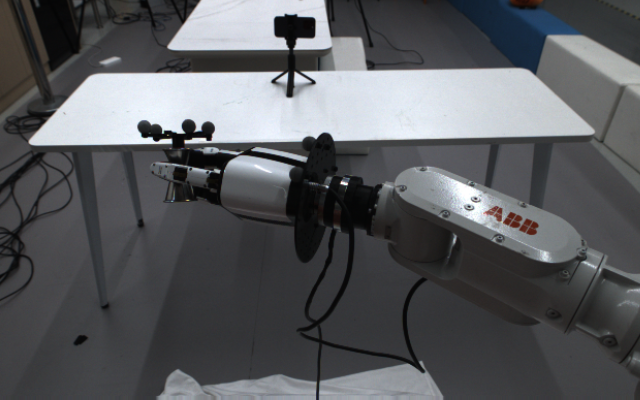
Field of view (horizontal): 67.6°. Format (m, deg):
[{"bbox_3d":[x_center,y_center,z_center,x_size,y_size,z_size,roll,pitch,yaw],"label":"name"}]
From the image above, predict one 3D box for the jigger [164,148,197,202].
[{"bbox_3d":[-0.182,-0.031,0.627,0.043,0.071,0.043,-2,4,0],"label":"jigger"}]
